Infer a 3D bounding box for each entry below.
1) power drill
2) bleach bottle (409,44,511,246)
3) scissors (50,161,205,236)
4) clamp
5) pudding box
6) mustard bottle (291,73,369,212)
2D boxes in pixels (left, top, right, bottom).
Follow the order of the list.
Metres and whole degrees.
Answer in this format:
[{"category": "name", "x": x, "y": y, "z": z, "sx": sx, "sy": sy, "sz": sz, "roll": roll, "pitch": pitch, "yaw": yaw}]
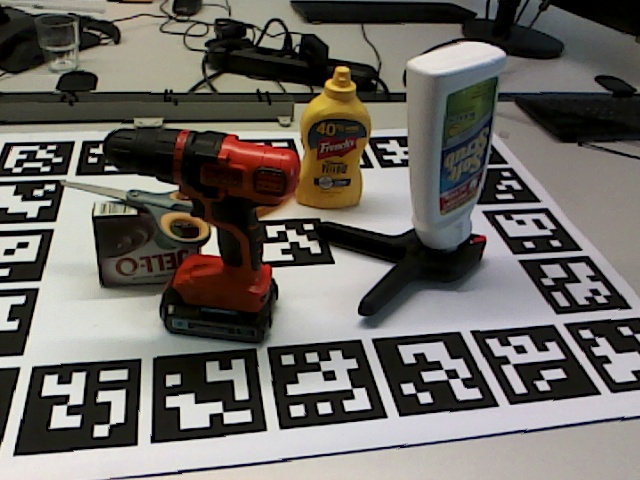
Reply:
[{"category": "power drill", "x": -0.119, "y": -0.014, "z": 0.604, "sx": 0.184, "sy": 0.186, "sz": 0.057, "roll": 3, "pitch": 30, "yaw": 1}, {"category": "bleach bottle", "x": 0.152, "y": -0.088, "z": 0.714, "sx": 0.102, "sy": 0.250, "sz": 0.068, "roll": -20, "pitch": 40, "yaw": -21}, {"category": "scissors", "x": -0.204, "y": -0.056, "z": 0.670, "sx": 0.203, "sy": 0.016, "sz": 0.088, "roll": 16, "pitch": 41, "yaw": 6}, {"category": "clamp", "x": 0.111, "y": 0.007, "z": 0.757, "sx": 0.202, "sy": 0.036, "sz": 0.166, "roll": -6, "pitch": 40, "yaw": -17}, {"category": "pudding box", "x": -0.199, "y": -0.001, "z": 0.704, "sx": 0.113, "sy": 0.090, "sz": 0.039, "roll": 0, "pitch": 30, "yaw": -8}, {"category": "mustard bottle", "x": 0.016, "y": -0.130, "z": 0.831, "sx": 0.096, "sy": 0.191, "sz": 0.058, "roll": 7, "pitch": 36, "yaw": -1}]
